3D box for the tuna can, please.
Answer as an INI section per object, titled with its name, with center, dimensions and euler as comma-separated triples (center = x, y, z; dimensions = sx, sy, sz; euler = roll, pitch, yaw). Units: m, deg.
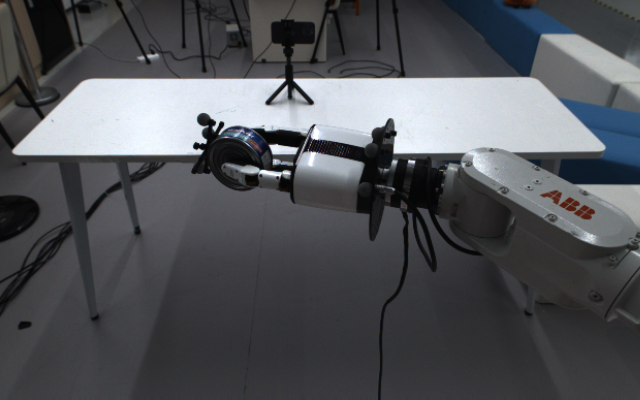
[tuna can]
center = -0.109, -0.057, 0.662
dimensions = 0.085, 0.085, 0.034
euler = 11, 35, 13
